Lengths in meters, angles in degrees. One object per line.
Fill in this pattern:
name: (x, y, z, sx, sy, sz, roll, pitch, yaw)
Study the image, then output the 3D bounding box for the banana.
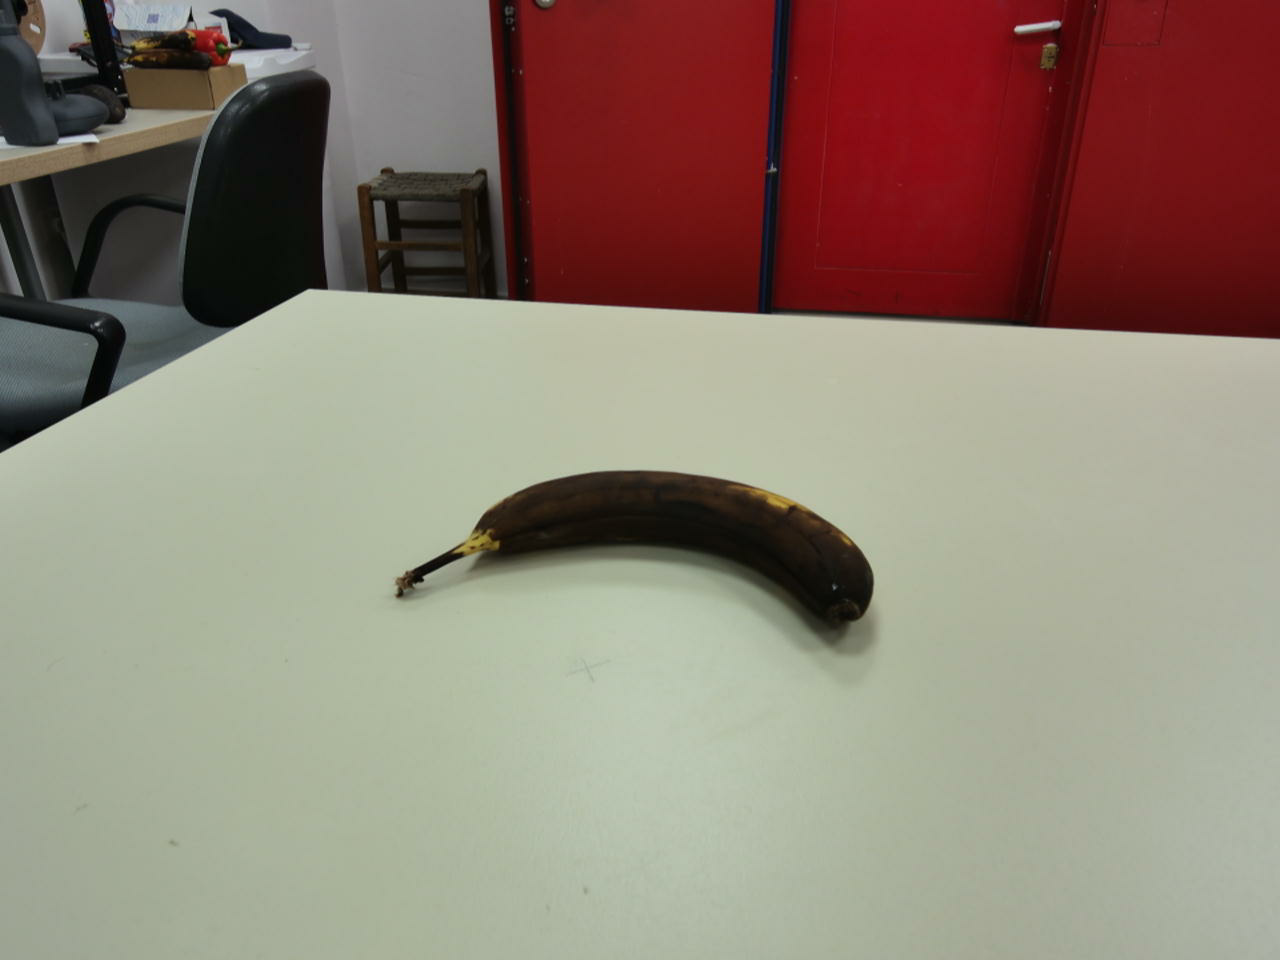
banana: (0.002, 0.023, 0.416, 0.188, 0.034, 0.091, 6, 25, 13)
